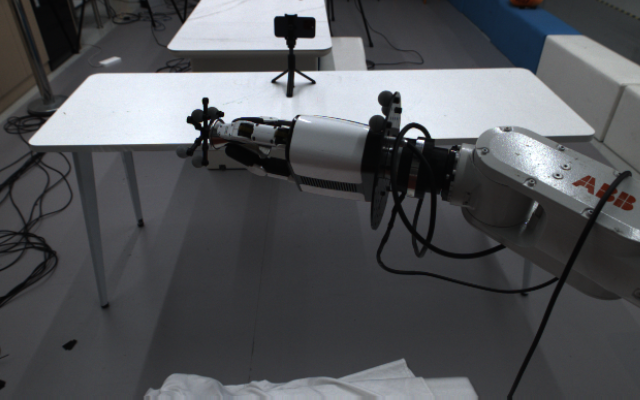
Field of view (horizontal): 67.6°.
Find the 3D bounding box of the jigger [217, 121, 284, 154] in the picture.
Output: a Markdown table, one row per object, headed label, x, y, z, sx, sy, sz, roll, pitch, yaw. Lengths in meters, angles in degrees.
| label | x | y | z | sx | sy | sz | roll | pitch | yaw |
| --- | --- | --- | --- | --- | --- | --- | --- | --- | --- |
| jigger | -0.094 | -0.081 | 0.606 | 0.071 | 0.043 | 0.043 | 10 | 35 | 16 |
